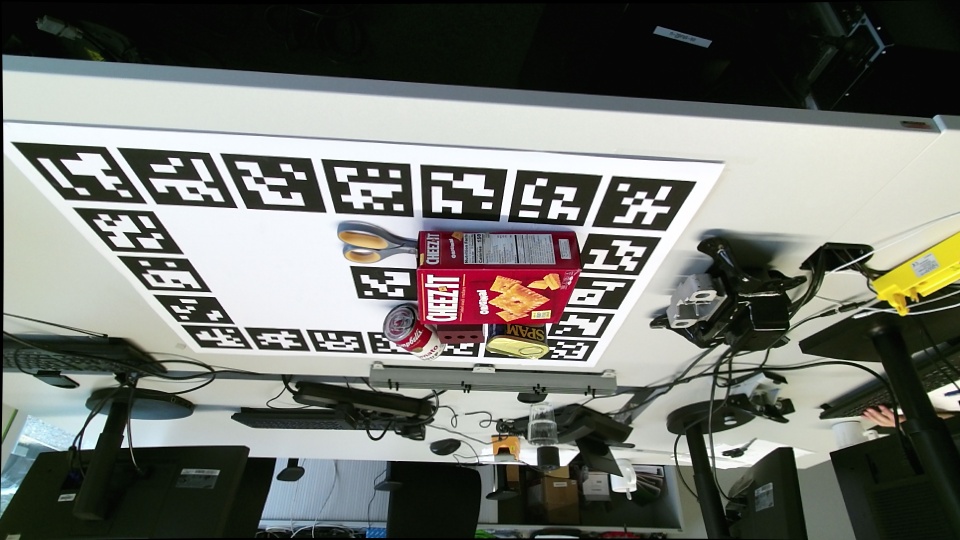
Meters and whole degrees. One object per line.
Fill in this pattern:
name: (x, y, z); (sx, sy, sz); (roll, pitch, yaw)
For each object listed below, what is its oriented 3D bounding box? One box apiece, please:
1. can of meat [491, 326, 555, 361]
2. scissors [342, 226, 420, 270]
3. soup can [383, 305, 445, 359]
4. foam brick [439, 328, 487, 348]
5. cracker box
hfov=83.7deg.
can of meat: (0.070, 0.099, 0.888); (0.102, 0.083, 0.058); (11, 142, -14)
scissors: (-0.085, -0.030, 0.749); (0.203, 0.016, 0.088); (0, 144, 0)
soup can: (-0.112, 0.111, 0.936); (0.068, 0.067, 0.102); (-21, 145, 26)
foam brick: (-0.028, 0.098, 0.919); (0.078, 0.051, 0.053); (-3, 144, 5)
cracker box: (0.028, 0.020, 0.767); (0.214, 0.071, 0.164); (-3, 145, -2)
